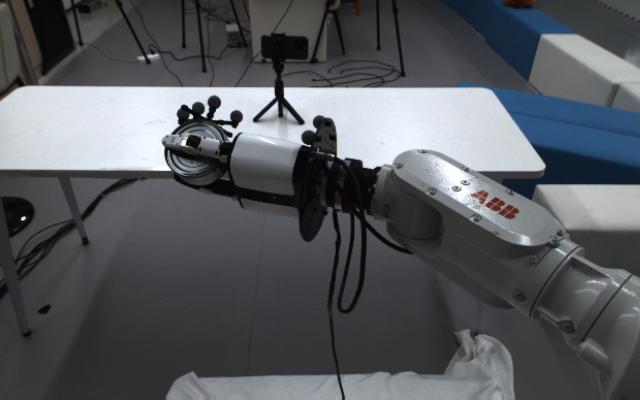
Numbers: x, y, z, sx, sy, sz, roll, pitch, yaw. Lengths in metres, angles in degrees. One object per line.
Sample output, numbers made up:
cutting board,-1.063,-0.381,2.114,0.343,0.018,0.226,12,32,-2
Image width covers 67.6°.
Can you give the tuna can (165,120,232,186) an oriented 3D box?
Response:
tuna can,-0.163,-0.064,0.654,0.085,0.034,0.085,-3,68,8
